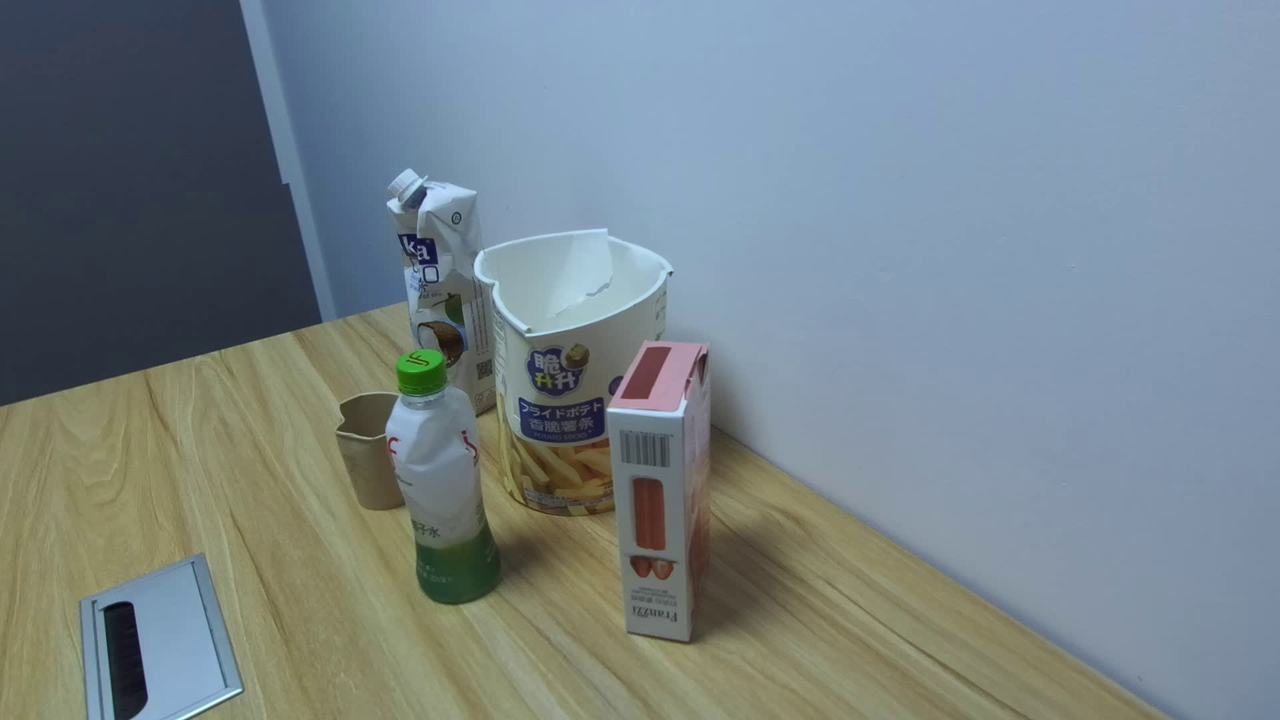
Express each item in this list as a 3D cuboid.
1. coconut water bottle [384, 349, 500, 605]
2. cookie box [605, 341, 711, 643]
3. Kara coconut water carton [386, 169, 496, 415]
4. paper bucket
[{"bbox_3d":[-0.140,0.082,0.498,0.069,0.186,0.069,-2,28,2],"label":"coconut water bottle"},{"bbox_3d":[0.020,0.085,0.483,0.049,0.188,0.105,5,29,13],"label":"cookie box"},{"bbox_3d":[-0.193,-0.066,0.709,0.079,0.256,0.083,-22,33,-31],"label":"Kara coconut water carton"},{"bbox_3d":[-0.056,0.010,0.618,0.146,0.197,0.202,-14,30,-23],"label":"paper bucket"}]
